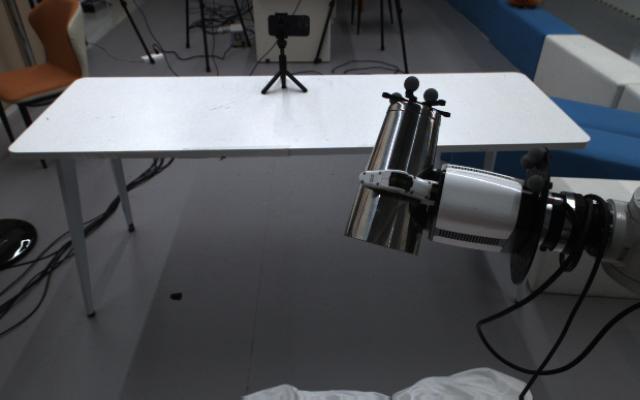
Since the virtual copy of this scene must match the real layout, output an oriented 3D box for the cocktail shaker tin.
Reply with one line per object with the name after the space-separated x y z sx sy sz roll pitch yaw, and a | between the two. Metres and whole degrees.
0.095 -0.027 0.588 0.093 0.170 0.093 16 -4 1 | cocktail shaker tin
